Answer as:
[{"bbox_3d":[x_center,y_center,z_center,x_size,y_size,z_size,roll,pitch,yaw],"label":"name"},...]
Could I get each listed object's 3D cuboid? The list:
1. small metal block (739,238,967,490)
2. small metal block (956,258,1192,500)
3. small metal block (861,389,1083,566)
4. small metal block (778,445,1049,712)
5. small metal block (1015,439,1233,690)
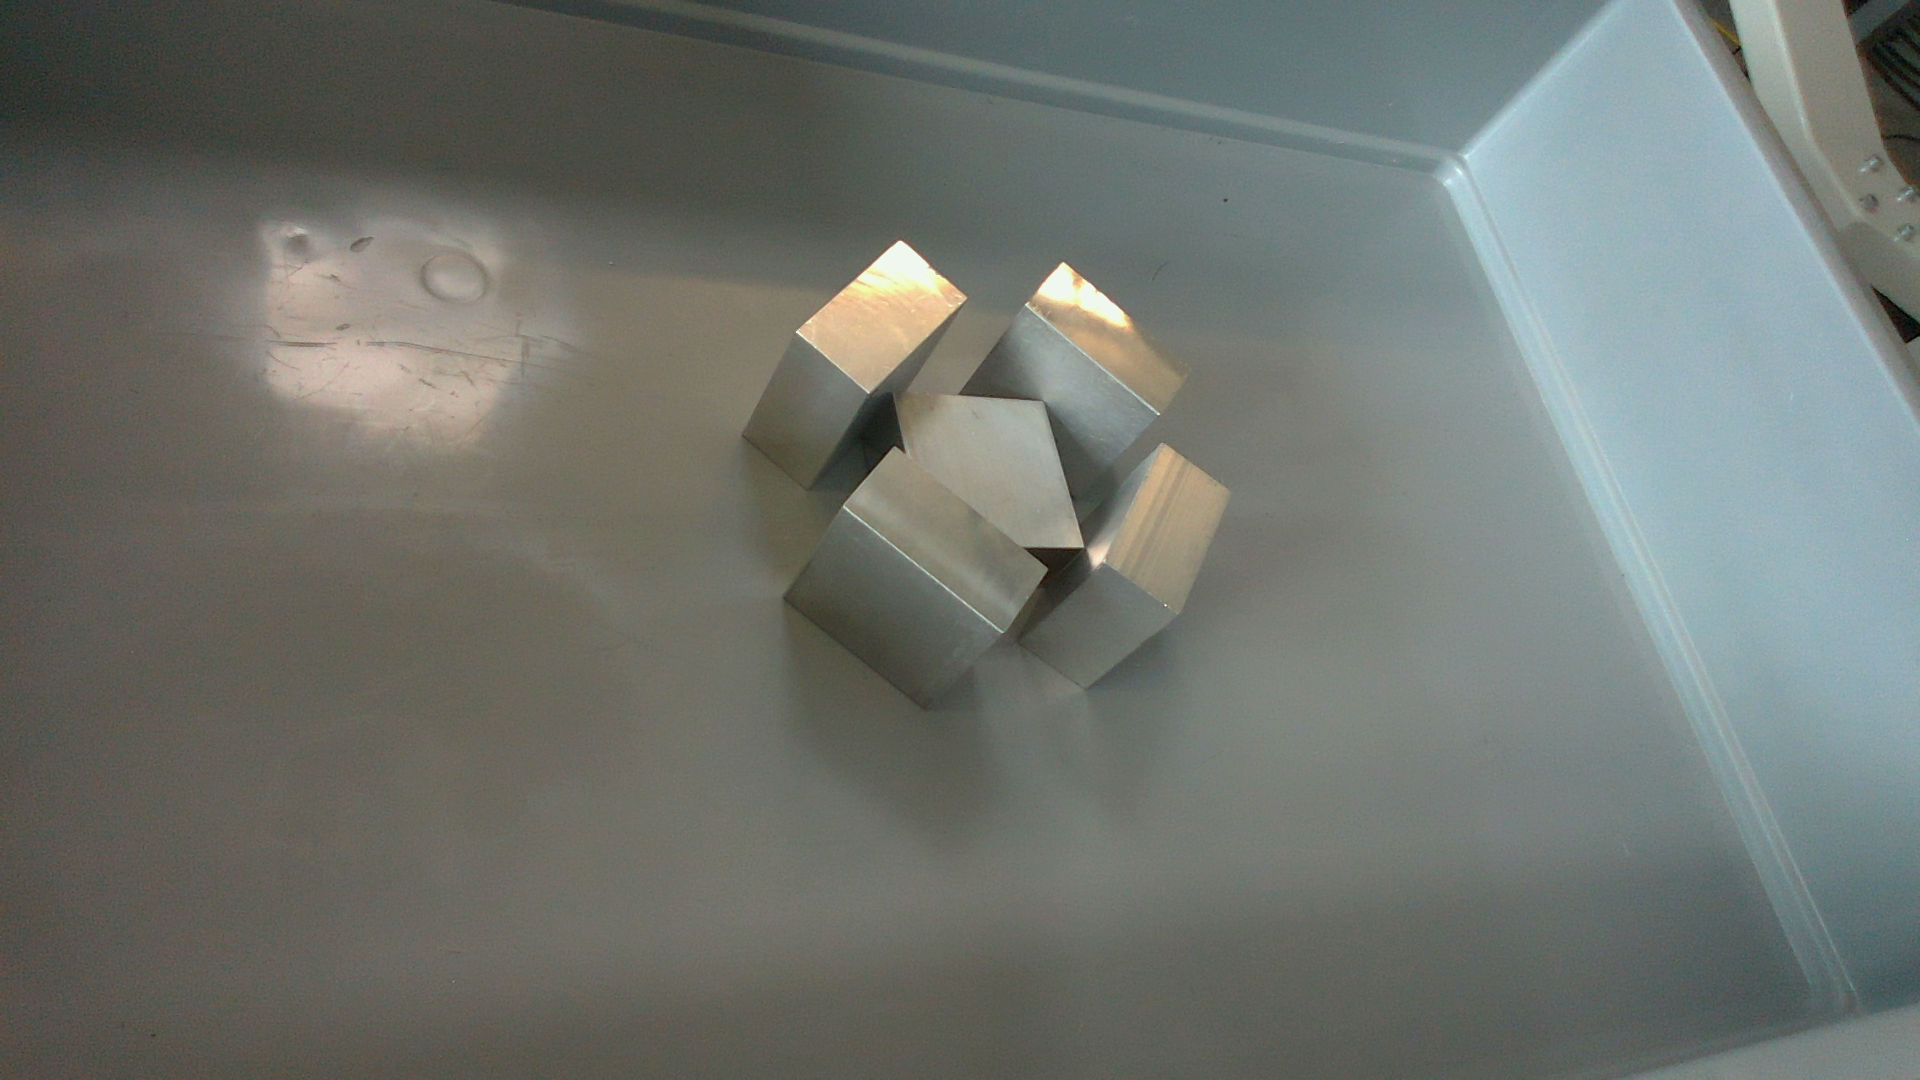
[{"bbox_3d":[-0.030,-0.049,0.385,0.025,0.050,0.050,40,51,0],"label":"small metal block"},{"bbox_3d":[0.033,-0.048,0.418,0.050,0.050,0.025,39,50,-3],"label":"small metal block"},{"bbox_3d":[0.003,-0.015,0.398,0.050,0.025,0.050,1,61,-28],"label":"small metal block"},{"bbox_3d":[-0.013,0.011,0.358,0.050,0.050,0.025,39,52,-2],"label":"small metal block"},{"bbox_3d":[0.046,0.007,0.392,0.025,0.050,0.050,35,50,-6],"label":"small metal block"}]
